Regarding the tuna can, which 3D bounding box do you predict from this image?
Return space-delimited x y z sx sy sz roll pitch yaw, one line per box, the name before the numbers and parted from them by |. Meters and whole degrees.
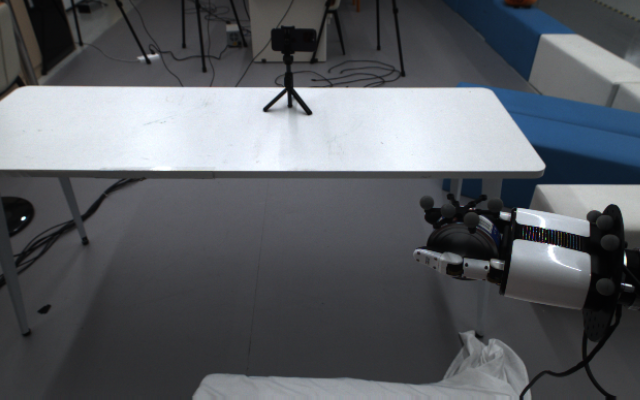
tuna can | 0.181 0.053 0.600 0.085 0.085 0.034 17 37 20
